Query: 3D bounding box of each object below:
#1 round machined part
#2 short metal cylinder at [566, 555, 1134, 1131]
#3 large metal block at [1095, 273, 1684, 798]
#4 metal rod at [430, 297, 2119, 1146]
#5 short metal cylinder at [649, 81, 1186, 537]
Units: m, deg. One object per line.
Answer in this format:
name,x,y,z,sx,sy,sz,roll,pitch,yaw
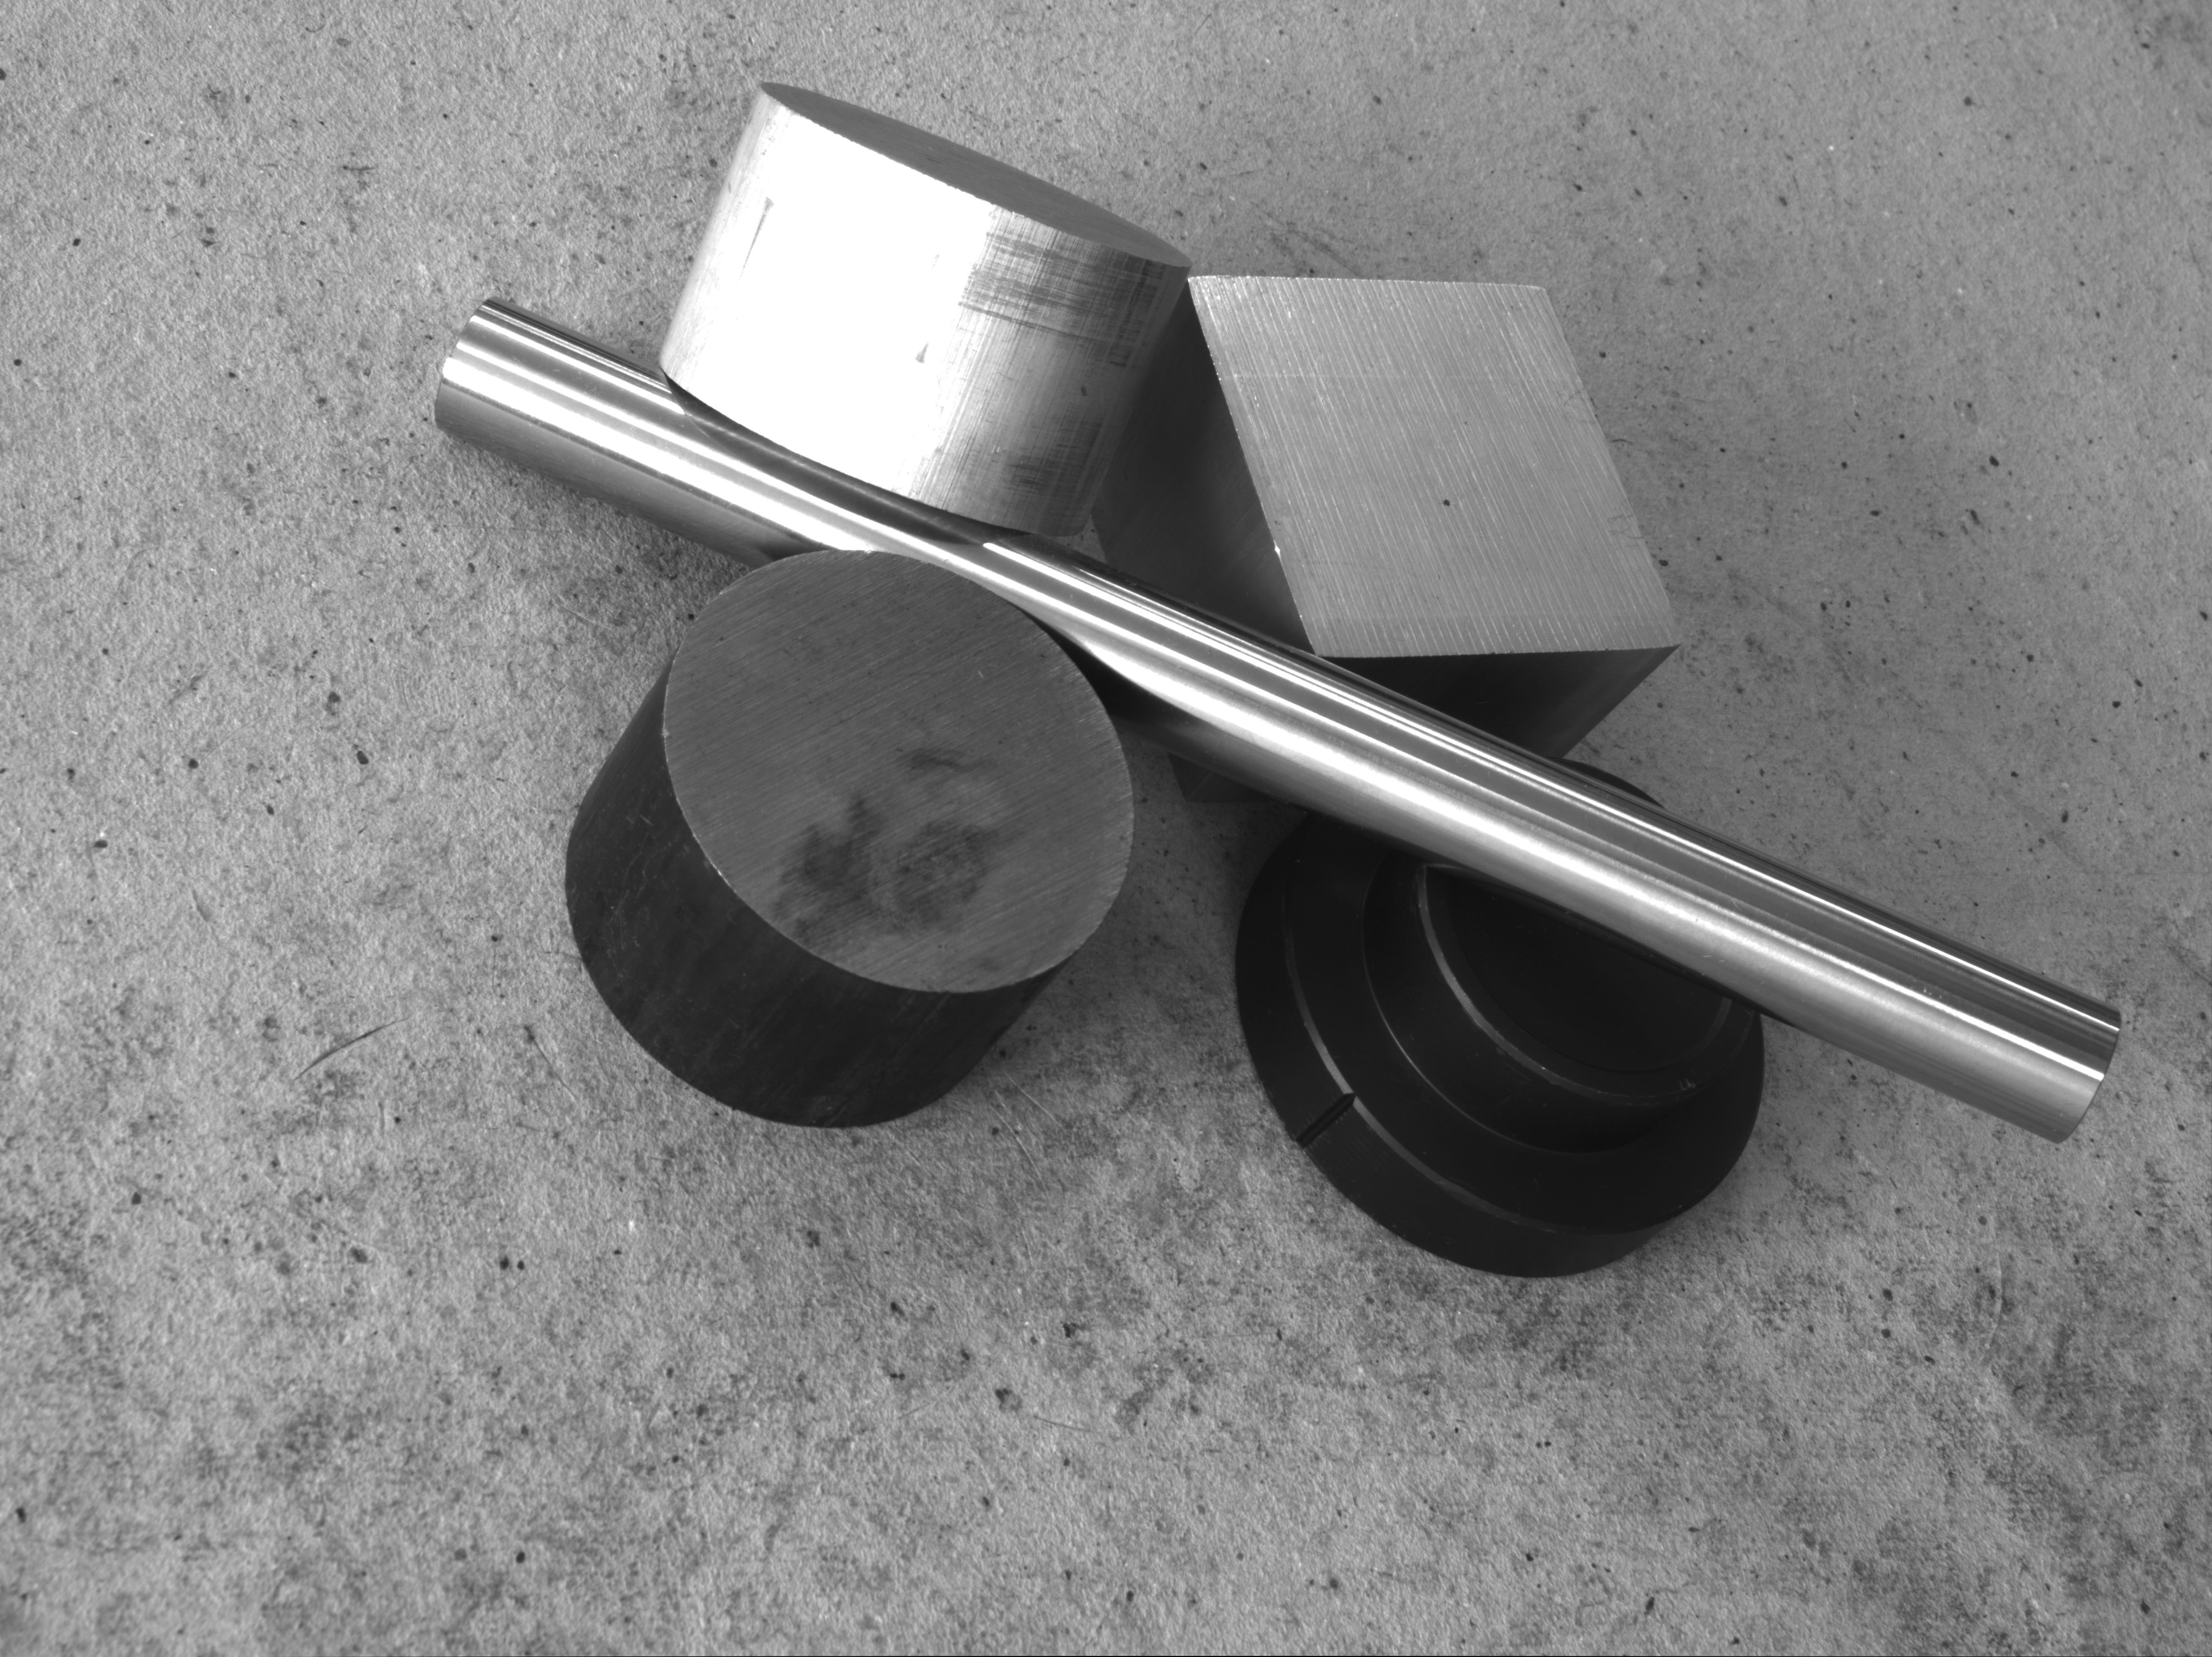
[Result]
round machined part,0.076,0.027,0.652,0.098,0.042,0.098,13,56,-21
short metal cylinder,-0.042,0.003,0.601,0.080,0.050,0.080,13,56,-21
large metal block,0.049,-0.054,0.681,0.080,0.050,0.080,-3,63,-29
metal rod,0.027,-0.019,0.622,0.300,0.025,0.025,24,52,3
short metal cylinder,-0.033,-0.090,0.637,0.080,0.050,0.080,22,14,-5
